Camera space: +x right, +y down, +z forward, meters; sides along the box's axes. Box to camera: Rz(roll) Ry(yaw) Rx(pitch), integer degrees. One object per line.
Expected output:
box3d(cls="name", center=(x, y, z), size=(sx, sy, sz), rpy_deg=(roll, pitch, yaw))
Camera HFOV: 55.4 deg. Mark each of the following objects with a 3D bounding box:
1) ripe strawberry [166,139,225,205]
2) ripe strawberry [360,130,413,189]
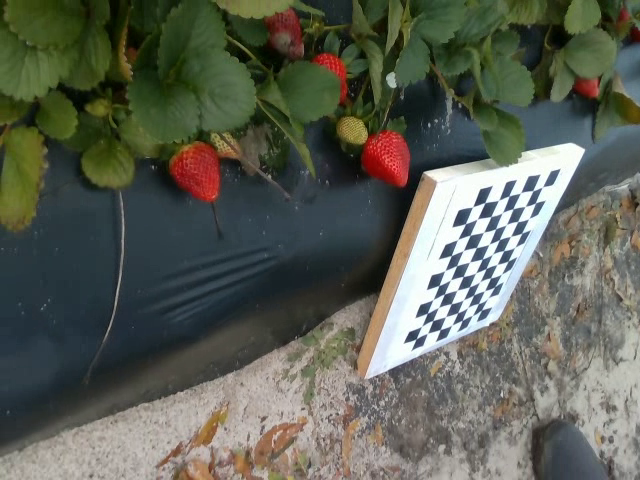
box3d(cls="ripe strawberry", center=(-0.092, -0.051, 0.452), size=(0.043, 0.052, 0.041), rpy_deg=(-26, 4, -20))
box3d(cls="ripe strawberry", center=(0.066, -0.072, 0.571), size=(0.057, 0.065, 0.056), rpy_deg=(-28, -35, 5))
